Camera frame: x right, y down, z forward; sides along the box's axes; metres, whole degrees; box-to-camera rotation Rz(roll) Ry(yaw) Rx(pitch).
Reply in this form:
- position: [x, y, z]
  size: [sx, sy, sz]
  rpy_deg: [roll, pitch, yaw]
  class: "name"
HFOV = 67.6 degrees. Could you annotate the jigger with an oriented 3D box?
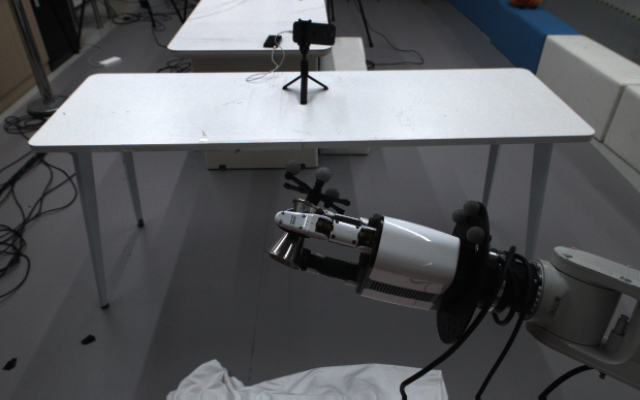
- position: [-0.027, 0.035, 0.531]
  size: [0.043, 0.043, 0.071]
  rpy_deg: [19, 72, 23]
  class: "jigger"
